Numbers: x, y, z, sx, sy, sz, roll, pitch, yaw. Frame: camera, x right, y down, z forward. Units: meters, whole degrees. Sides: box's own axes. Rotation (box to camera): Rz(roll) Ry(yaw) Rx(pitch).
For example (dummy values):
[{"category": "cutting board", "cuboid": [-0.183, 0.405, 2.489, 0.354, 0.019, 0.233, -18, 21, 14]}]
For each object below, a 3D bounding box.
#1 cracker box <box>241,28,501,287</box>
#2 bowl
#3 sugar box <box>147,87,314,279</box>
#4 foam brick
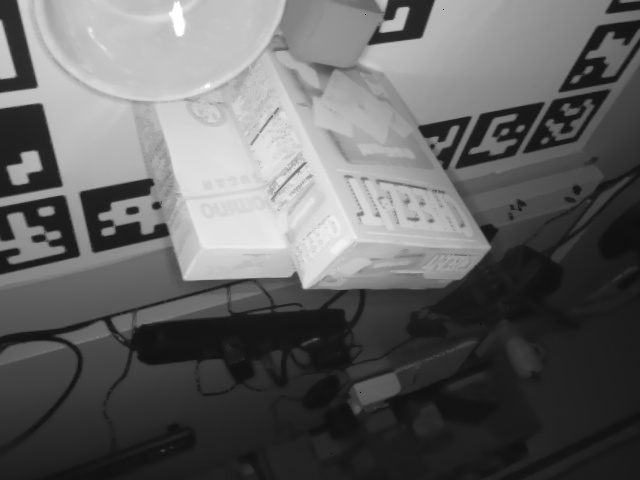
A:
[{"category": "cracker box", "cuboid": [0.041, -0.071, 0.575, 0.167, 0.214, 0.071, 8, 138, -42]}, {"category": "bowl", "cuboid": [-0.094, -0.171, 0.457, 0.163, 0.055, 0.160, -19, 148, -12]}, {"category": "sugar box", "cuboid": [-0.069, -0.052, 0.555, 0.094, 0.176, 0.044, 0, 141, -37]}, {"category": "foam brick", "cuboid": [0.014, -0.183, 0.526, 0.053, 0.078, 0.050, -4, 144, -32]}]
